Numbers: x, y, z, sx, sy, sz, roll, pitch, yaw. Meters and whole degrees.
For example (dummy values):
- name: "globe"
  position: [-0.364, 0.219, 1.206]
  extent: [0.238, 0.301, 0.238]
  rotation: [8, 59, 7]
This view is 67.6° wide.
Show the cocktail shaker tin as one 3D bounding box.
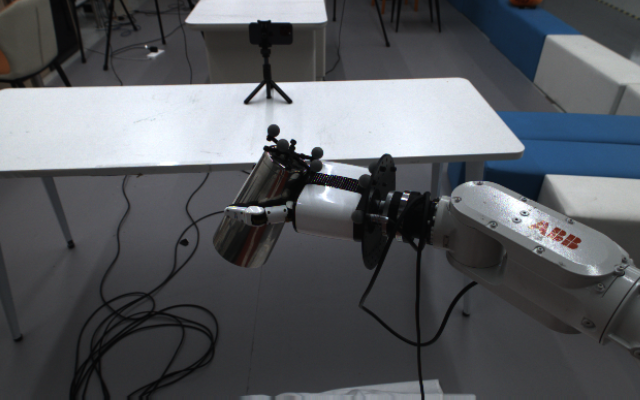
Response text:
- name: "cocktail shaker tin"
  position: [-0.083, 0.004, 0.711]
  extent: [0.093, 0.170, 0.093]
  rotation: [25, 29, -15]
